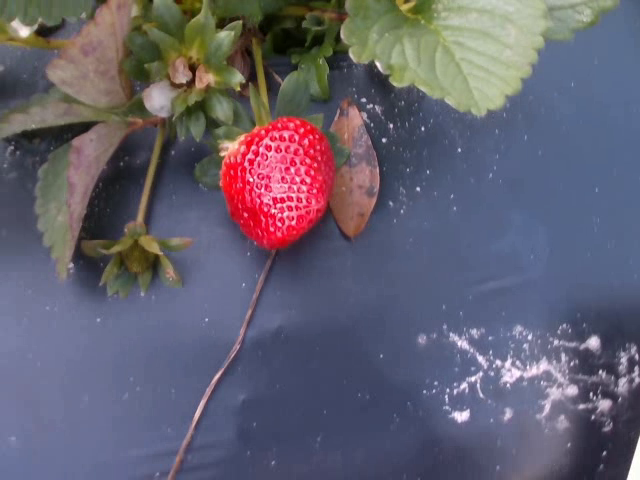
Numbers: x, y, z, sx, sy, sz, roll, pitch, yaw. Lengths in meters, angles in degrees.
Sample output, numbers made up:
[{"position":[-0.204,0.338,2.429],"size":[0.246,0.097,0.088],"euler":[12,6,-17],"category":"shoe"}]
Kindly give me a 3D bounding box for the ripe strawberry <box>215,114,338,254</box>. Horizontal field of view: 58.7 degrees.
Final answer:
[{"position":[-0.014,-0.017,0.198],"size":[0.050,0.049,0.053],"euler":[-9,43,-10],"category":"ripe strawberry"}]
